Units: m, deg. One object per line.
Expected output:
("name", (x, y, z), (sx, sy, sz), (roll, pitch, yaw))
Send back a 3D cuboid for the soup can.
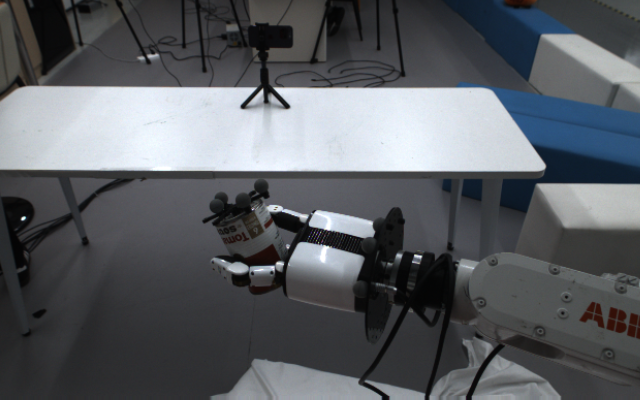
("soup can", (-0.077, 0.057, 0.603), (0.067, 0.101, 0.067), (-24, 16, 7))
